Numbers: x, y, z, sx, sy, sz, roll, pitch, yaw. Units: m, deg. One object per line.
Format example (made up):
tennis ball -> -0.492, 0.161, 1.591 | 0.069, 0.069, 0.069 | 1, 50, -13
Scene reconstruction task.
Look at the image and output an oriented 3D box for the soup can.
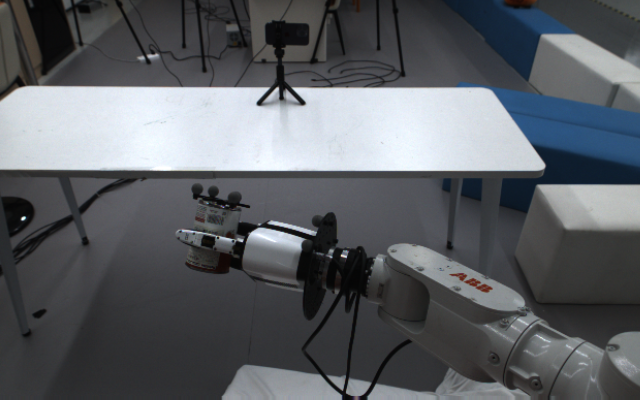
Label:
soup can -> -0.162, 0.057, 0.741 | 0.067, 0.101, 0.067 | 12, 0, 0
